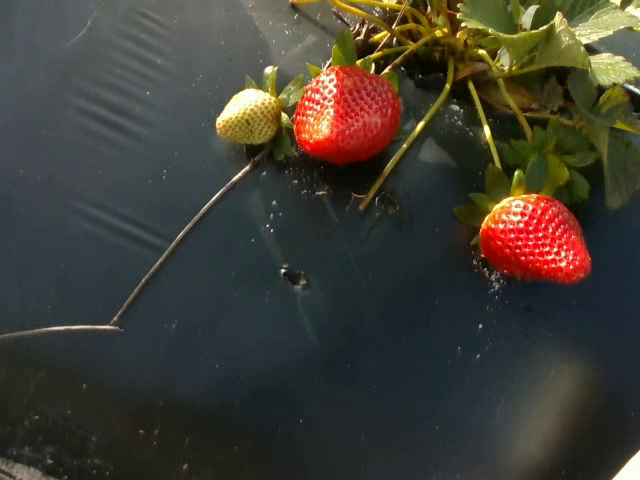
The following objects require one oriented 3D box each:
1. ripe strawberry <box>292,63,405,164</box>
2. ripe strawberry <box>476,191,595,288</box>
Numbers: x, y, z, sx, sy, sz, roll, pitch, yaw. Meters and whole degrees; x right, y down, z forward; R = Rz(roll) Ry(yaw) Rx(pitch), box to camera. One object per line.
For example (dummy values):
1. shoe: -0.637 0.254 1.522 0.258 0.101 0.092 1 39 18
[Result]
1. ripe strawberry: 0.008 -0.036 0.171 0.035 0.041 0.036 21 34 9
2. ripe strawberry: 0.067 0.001 0.171 0.033 0.037 0.039 40 22 -18
